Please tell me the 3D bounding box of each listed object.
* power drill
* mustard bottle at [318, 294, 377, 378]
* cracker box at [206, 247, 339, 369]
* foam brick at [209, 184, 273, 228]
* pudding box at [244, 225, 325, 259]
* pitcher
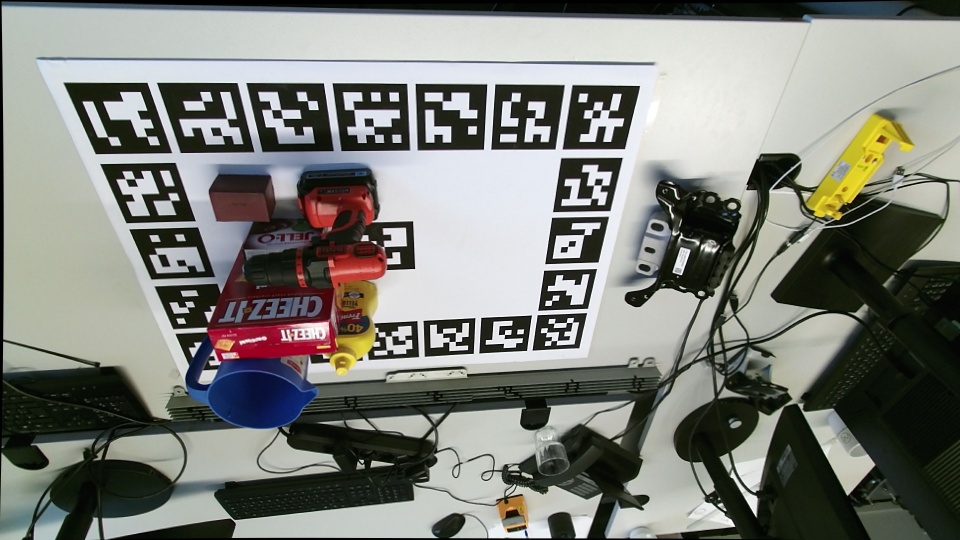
[{"bbox_3d":[-0.227,-0.043,0.744,0.185,0.186,0.057,-4,129,-6],"label":"power drill"},{"bbox_3d":[-0.220,0.117,0.887,0.096,0.190,0.058,8,122,-15],"label":"mustard bottle"},{"bbox_3d":[-0.302,0.042,0.812,0.165,0.212,0.072,-6,128,-8],"label":"cracker box"},{"bbox_3d":[-0.360,-0.097,0.810,0.078,0.051,0.053,-1,124,-8],"label":"foam brick"},{"bbox_3d":[-0.300,-0.029,0.828,0.114,0.089,0.038,-4,127,-10],"label":"pudding box"},{"bbox_3d":[-0.351,0.131,0.861,0.189,0.241,0.133,1,125,-12],"label":"pitcher"}]
